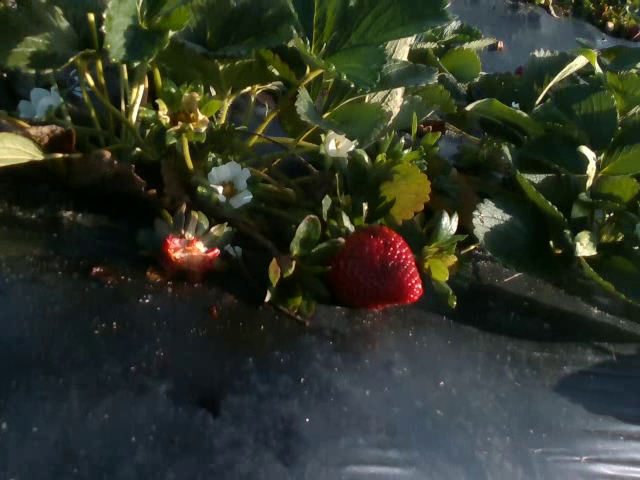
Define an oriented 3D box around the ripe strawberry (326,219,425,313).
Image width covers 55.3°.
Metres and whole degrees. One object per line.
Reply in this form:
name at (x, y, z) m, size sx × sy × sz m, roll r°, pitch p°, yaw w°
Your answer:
ripe strawberry at (0.029, 0.015, 0.279) m, size 0.052 × 0.041 × 0.051 m, roll -17°, pitch 20°, yaw -18°
